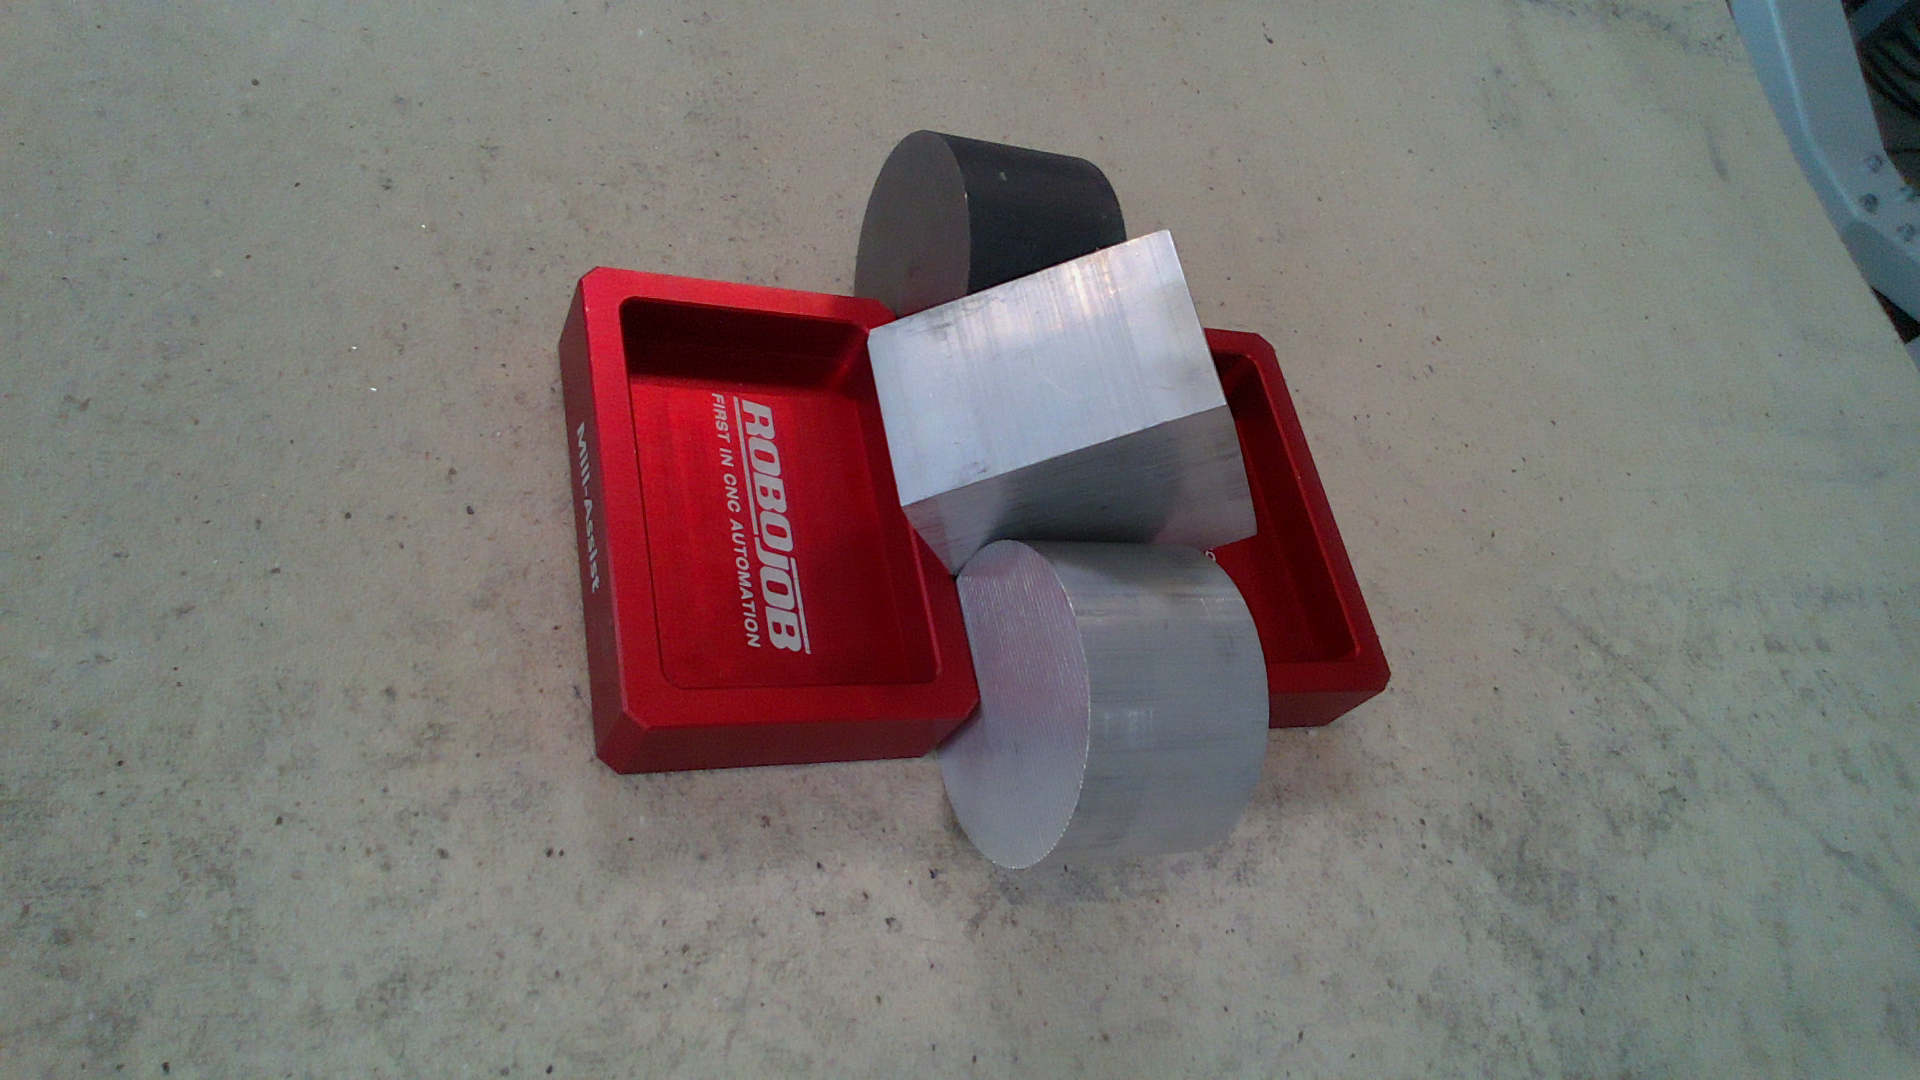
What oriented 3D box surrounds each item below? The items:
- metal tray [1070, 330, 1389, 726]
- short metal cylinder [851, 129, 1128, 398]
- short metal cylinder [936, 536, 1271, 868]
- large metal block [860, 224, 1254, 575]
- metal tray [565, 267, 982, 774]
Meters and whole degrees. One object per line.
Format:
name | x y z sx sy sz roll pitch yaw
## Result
metal tray | 0.071 -0.007 0.430 0.090 0.030 0.130 2 61 -27
short metal cylinder | 0.006 -0.075 0.404 0.050 0.080 0.080 2 61 -27
short metal cylinder | 0.033 0.040 0.347 0.050 0.080 0.080 2 61 -27
large metal block | 0.028 -0.027 0.360 0.080 0.080 0.050 -17 65 9
metal tray | -0.052 -0.007 0.363 0.090 0.030 0.130 2 61 -27
